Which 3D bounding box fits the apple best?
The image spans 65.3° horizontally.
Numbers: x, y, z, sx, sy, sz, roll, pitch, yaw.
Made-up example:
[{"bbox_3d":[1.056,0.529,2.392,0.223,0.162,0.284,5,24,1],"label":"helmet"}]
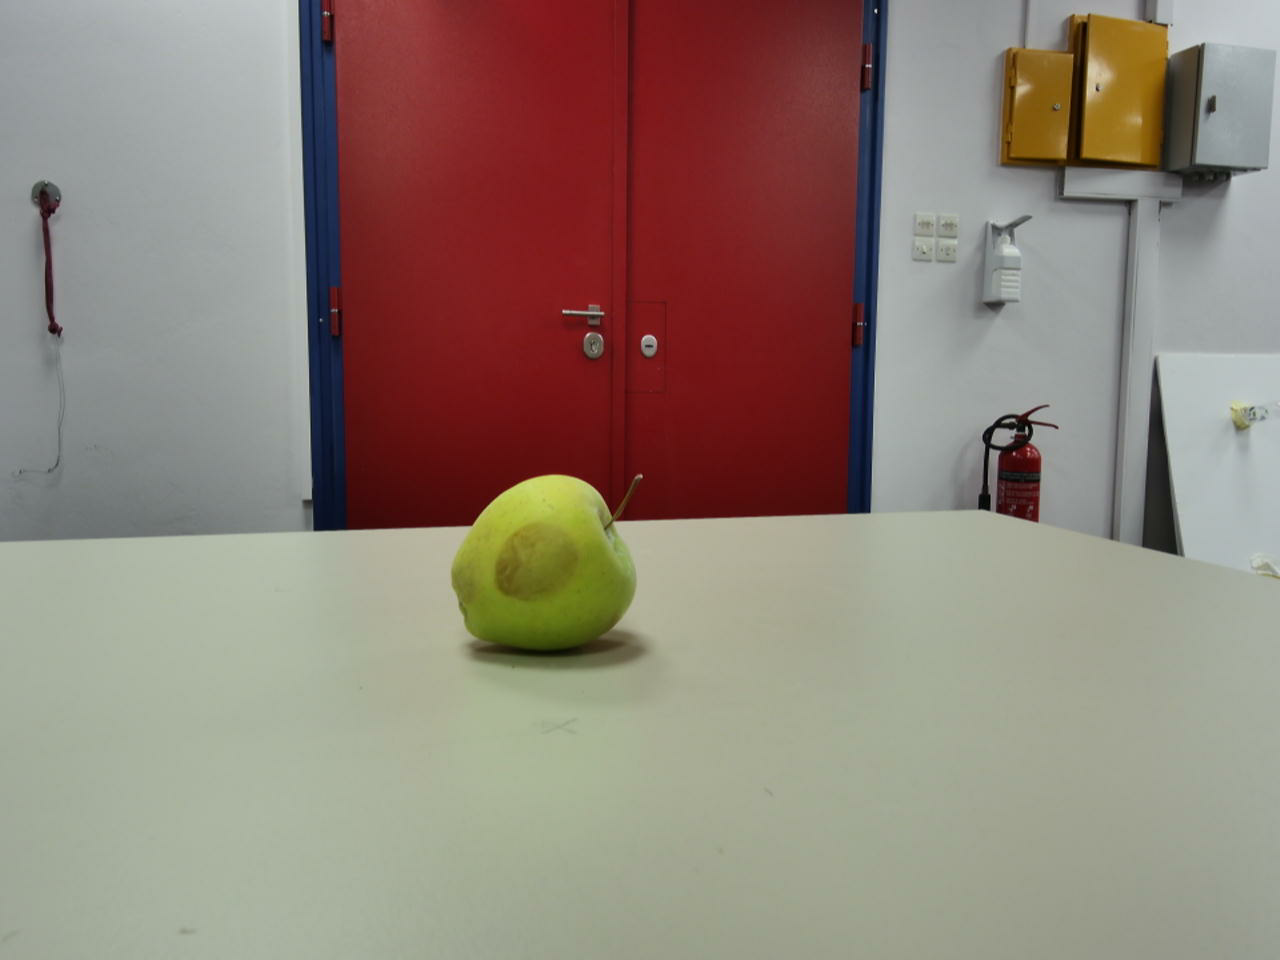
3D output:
[{"bbox_3d":[-0.040,0.036,0.437,0.077,0.075,0.072,3,5,30],"label":"apple"}]
